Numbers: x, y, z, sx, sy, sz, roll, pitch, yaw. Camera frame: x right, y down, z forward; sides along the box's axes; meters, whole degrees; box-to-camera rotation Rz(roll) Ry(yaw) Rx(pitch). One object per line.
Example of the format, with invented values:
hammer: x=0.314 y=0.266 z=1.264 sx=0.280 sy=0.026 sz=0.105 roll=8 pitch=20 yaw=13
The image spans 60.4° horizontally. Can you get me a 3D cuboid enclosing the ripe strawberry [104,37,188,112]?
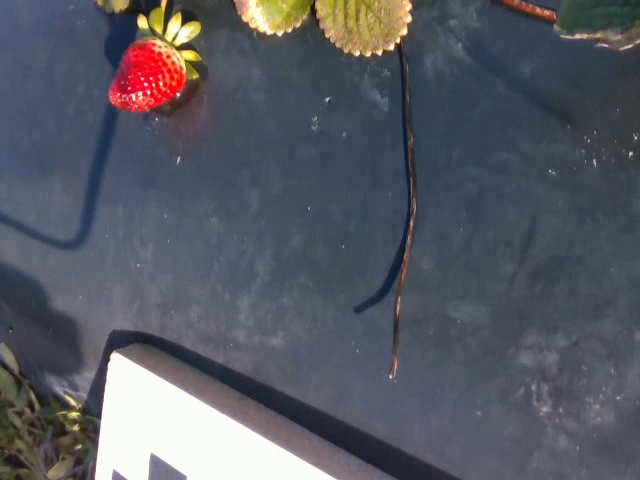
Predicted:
ripe strawberry: x=-0.066 y=-0.061 z=0.206 sx=0.028 sy=0.031 sz=0.041 roll=-7 pitch=36 yaw=31
